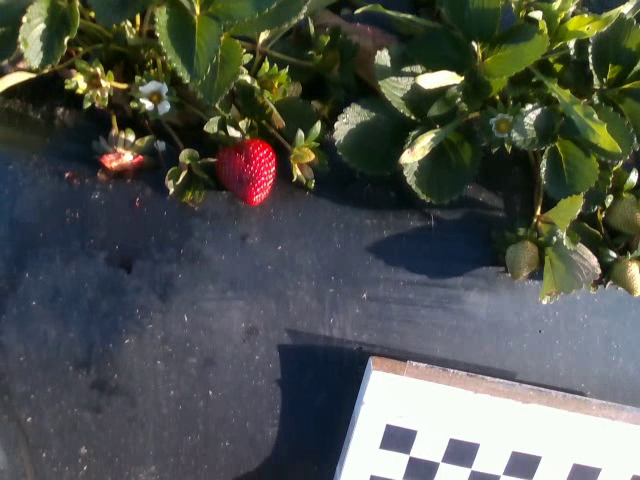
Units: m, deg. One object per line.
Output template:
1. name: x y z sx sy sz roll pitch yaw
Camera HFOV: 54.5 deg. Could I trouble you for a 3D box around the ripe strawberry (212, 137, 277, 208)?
1. ripe strawberry: -0.050 -0.042 0.423 0.052 0.052 0.041 -17 -41 6
